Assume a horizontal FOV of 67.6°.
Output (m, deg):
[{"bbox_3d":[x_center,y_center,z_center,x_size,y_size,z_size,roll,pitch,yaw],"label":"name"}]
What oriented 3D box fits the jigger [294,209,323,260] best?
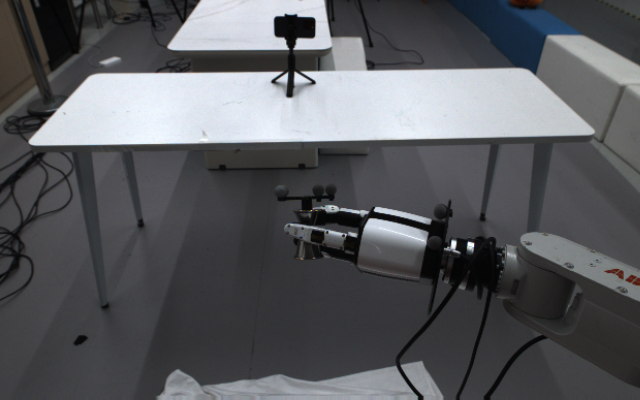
[{"bbox_3d":[-0.018,0.047,0.685,0.043,0.071,0.043,-2,3,0],"label":"jigger"}]
